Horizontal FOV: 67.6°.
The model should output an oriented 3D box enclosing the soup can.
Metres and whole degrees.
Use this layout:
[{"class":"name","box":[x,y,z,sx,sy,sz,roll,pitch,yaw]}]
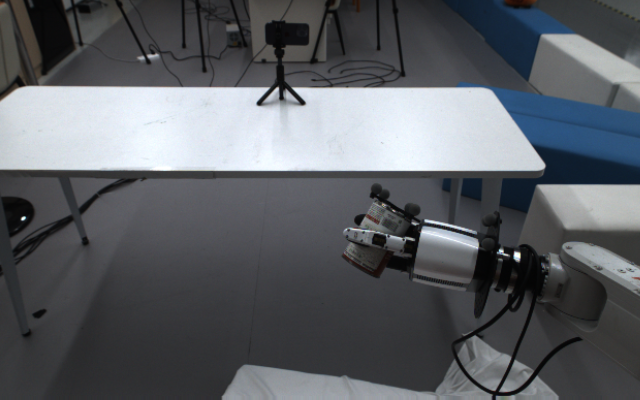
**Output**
[{"class":"soup can","box":[0.088,0.059,0.741,0.067,0.101,0.067,30,2,-1]}]
